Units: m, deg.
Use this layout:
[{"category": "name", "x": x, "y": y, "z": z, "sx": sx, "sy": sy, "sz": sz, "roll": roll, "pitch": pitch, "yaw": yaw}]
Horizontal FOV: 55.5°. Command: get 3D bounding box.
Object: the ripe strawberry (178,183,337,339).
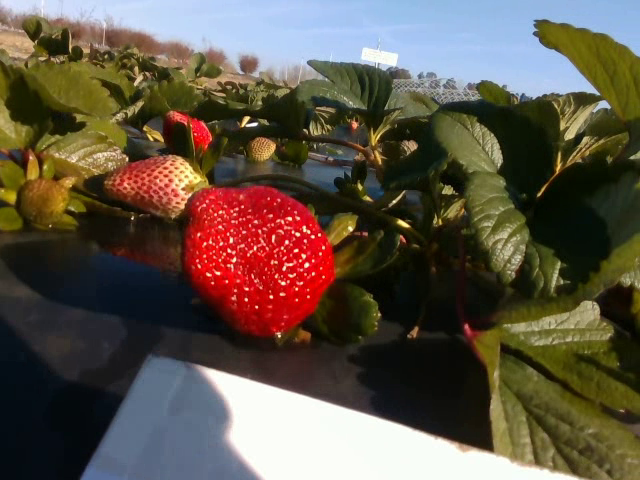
[{"category": "ripe strawberry", "x": -0.023, "y": 0.005, "z": 0.177, "sx": 0.058, "sy": 0.066, "sz": 0.062, "roll": -37, "pitch": -28, "yaw": -2}]
